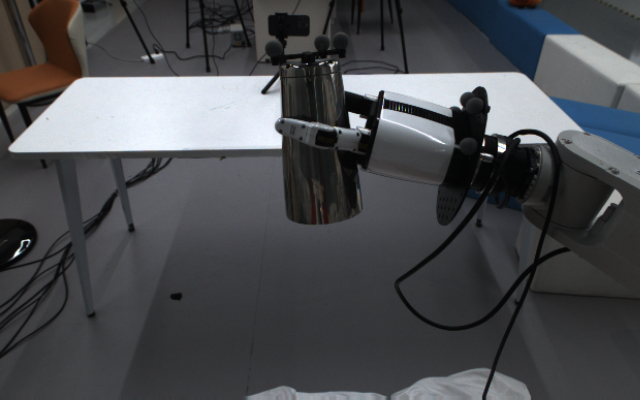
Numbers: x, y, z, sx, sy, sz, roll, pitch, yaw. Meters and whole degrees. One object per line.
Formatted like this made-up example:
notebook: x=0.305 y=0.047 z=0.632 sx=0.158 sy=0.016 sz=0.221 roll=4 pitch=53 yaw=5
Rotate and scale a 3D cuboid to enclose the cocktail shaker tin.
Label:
cocktail shaker tin: x=-0.002 y=-0.067 z=0.548 sx=0.093 sy=0.170 sz=0.093 roll=-6 pitch=19 yaw=2
